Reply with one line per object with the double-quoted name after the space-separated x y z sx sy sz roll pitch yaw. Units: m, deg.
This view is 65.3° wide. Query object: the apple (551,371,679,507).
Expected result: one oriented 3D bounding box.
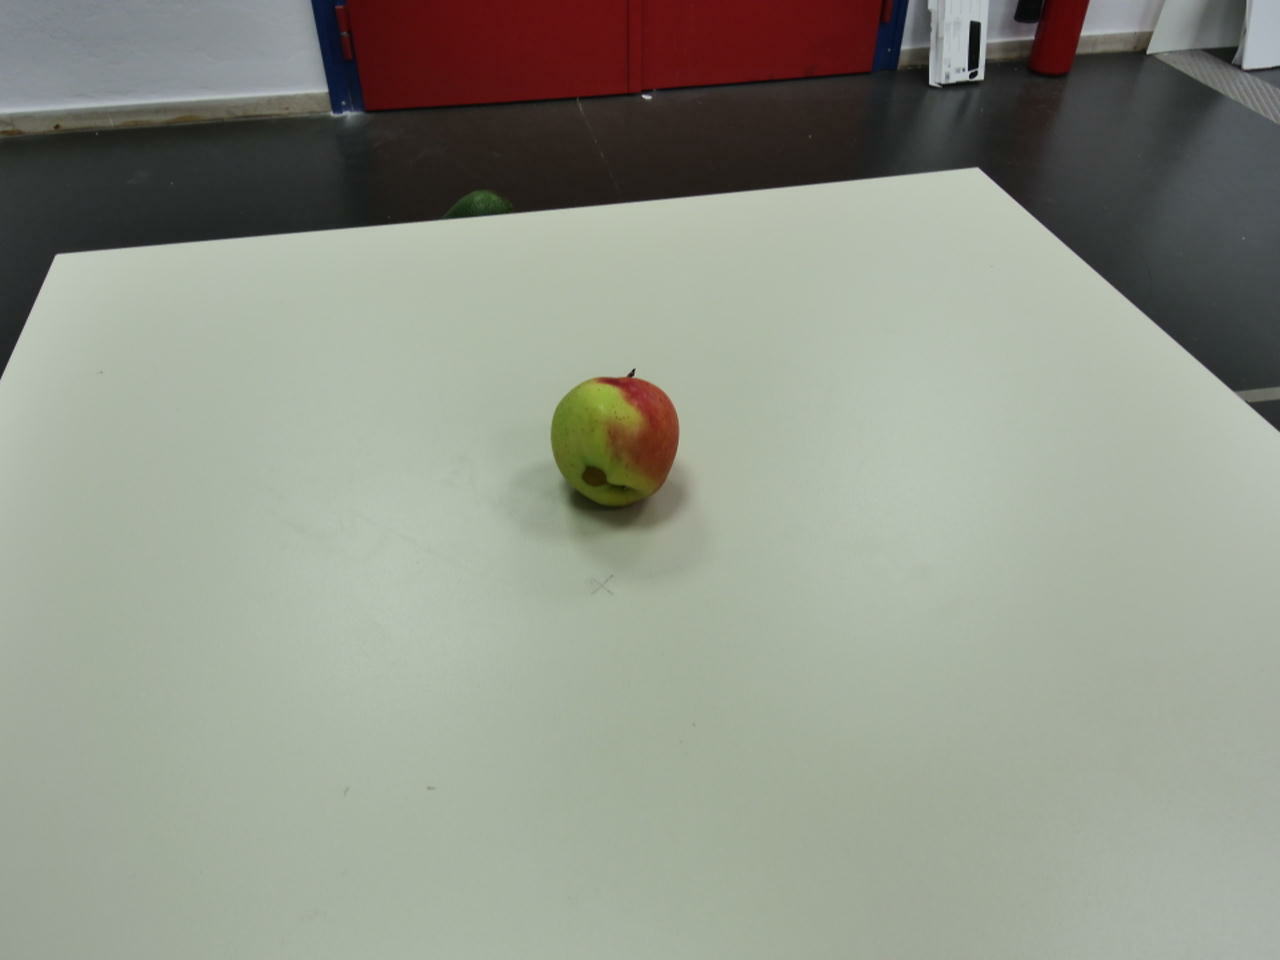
-0.014 -0.023 0.576 0.075 0.074 0.075 -21 44 -24 "apple"
